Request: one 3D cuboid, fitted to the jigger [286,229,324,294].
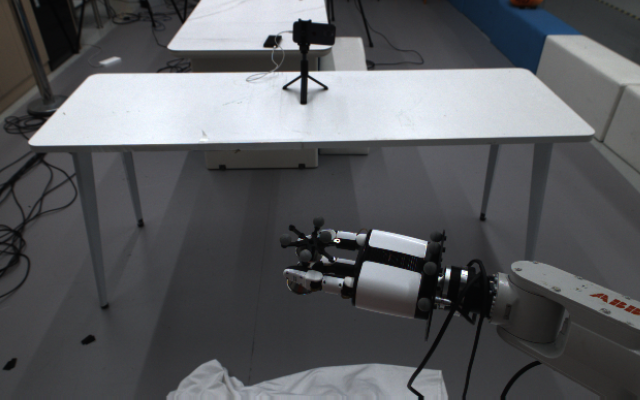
[{"bbox_3d":[-0.023,0.101,0.720,0.043,0.071,0.043,10,36,-7],"label":"jigger"}]
